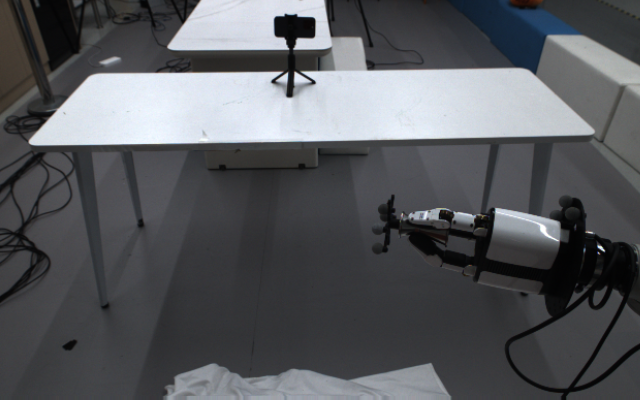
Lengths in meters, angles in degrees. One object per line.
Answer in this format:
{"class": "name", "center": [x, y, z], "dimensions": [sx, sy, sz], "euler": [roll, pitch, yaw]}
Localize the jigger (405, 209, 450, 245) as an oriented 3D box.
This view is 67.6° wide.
{"class": "jigger", "center": [0.156, 0.035, 0.689], "dimensions": [0.071, 0.043, 0.043], "euler": [8, 35, 14]}
